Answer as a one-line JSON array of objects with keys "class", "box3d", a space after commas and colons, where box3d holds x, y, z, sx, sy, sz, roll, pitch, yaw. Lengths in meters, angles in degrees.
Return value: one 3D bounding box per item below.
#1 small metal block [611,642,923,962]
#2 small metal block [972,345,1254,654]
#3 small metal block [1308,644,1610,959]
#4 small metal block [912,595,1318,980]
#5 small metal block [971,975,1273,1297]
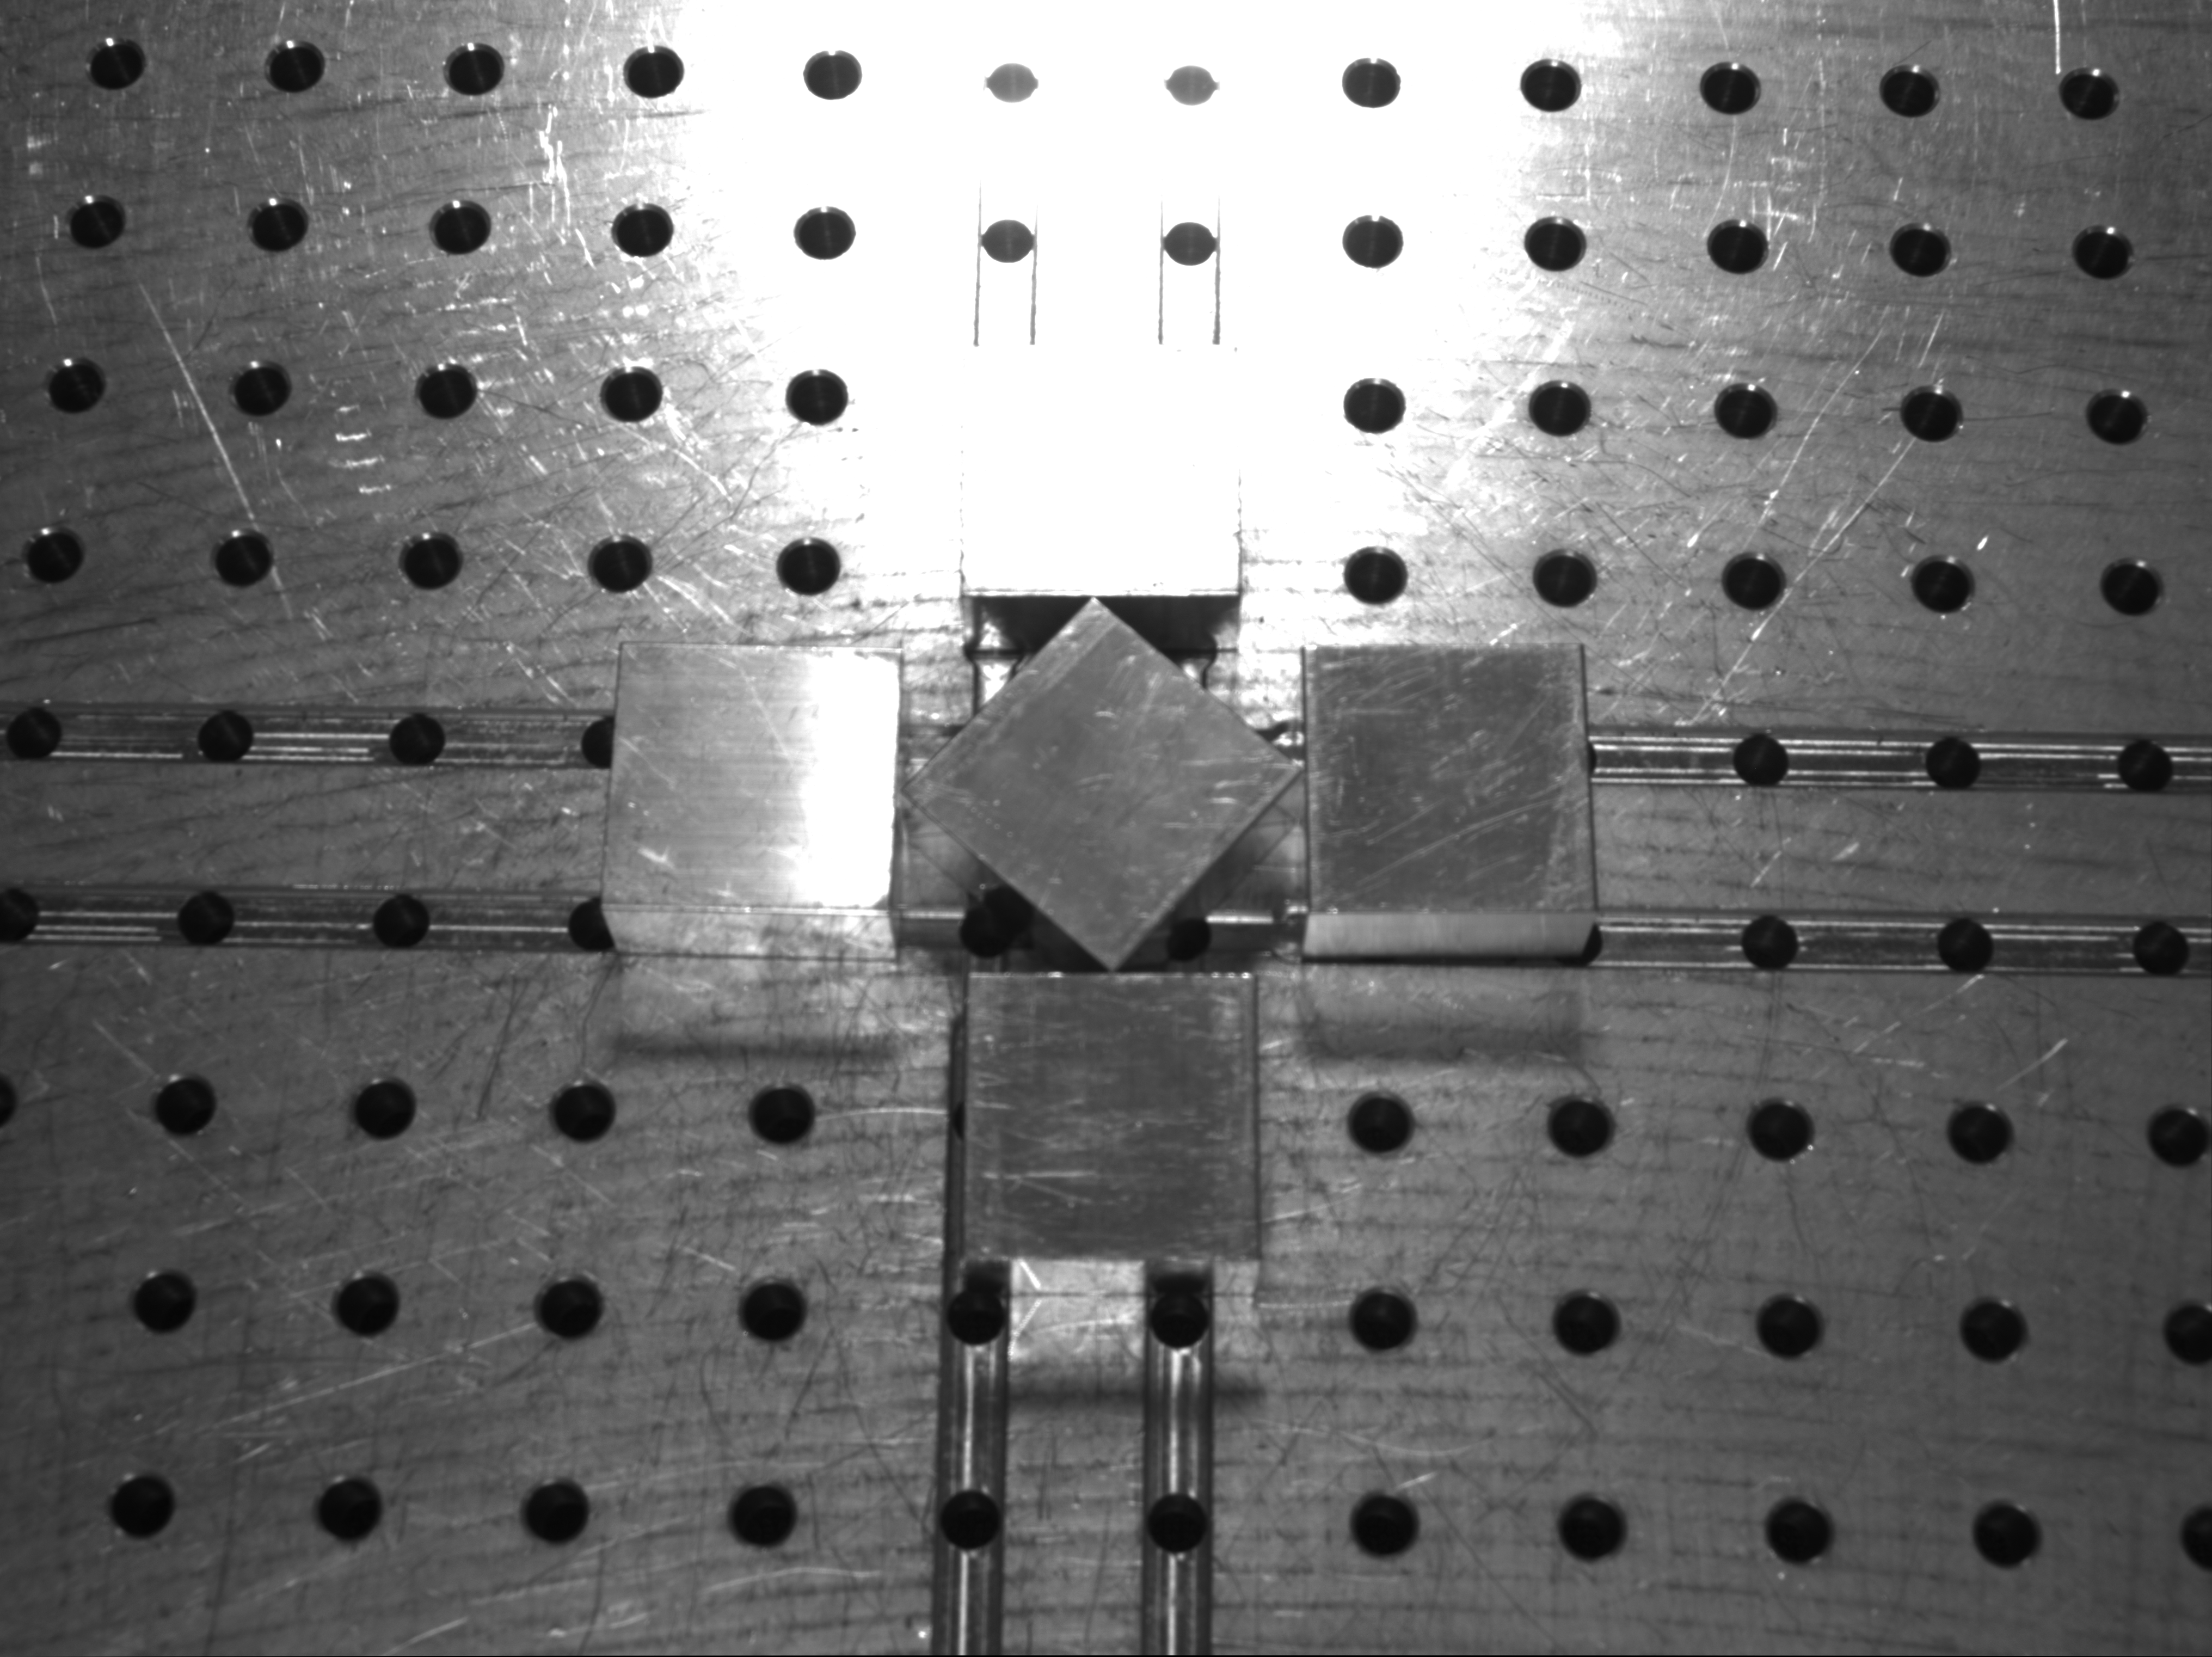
[{"class": "small metal block", "box3d": [-0.059, -0.005, 0.649, 0.050, 0.025, 0.050, 1, 70, 1]}, {"class": "small metal block", "box3d": [0.001, -0.060, 0.669, 0.050, 0.025, 0.050, 0, 70, 0]}, {"class": "small metal block", "box3d": [0.061, -0.005, 0.649, 0.050, 0.025, 0.050, 0, 70, 0]}, {"class": "small metal block", "box3d": [0.002, -0.004, 0.648, 0.050, 0.025, 0.050, 40, 75, 13]}, {"class": "small metal block", "box3d": [0.003, 0.053, 0.628, 0.050, 0.025, 0.050, 0, 70, 0]}]
